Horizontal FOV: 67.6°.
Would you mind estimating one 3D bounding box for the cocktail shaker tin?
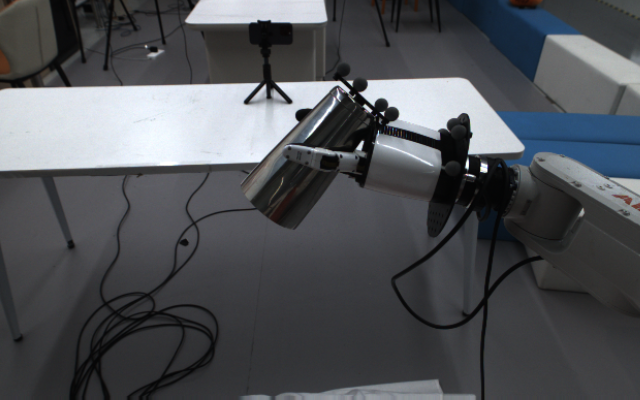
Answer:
[{"bbox_3d":[-0.010,-0.059,0.607,0.093,0.170,0.093,41,12,-11],"label":"cocktail shaker tin"}]
